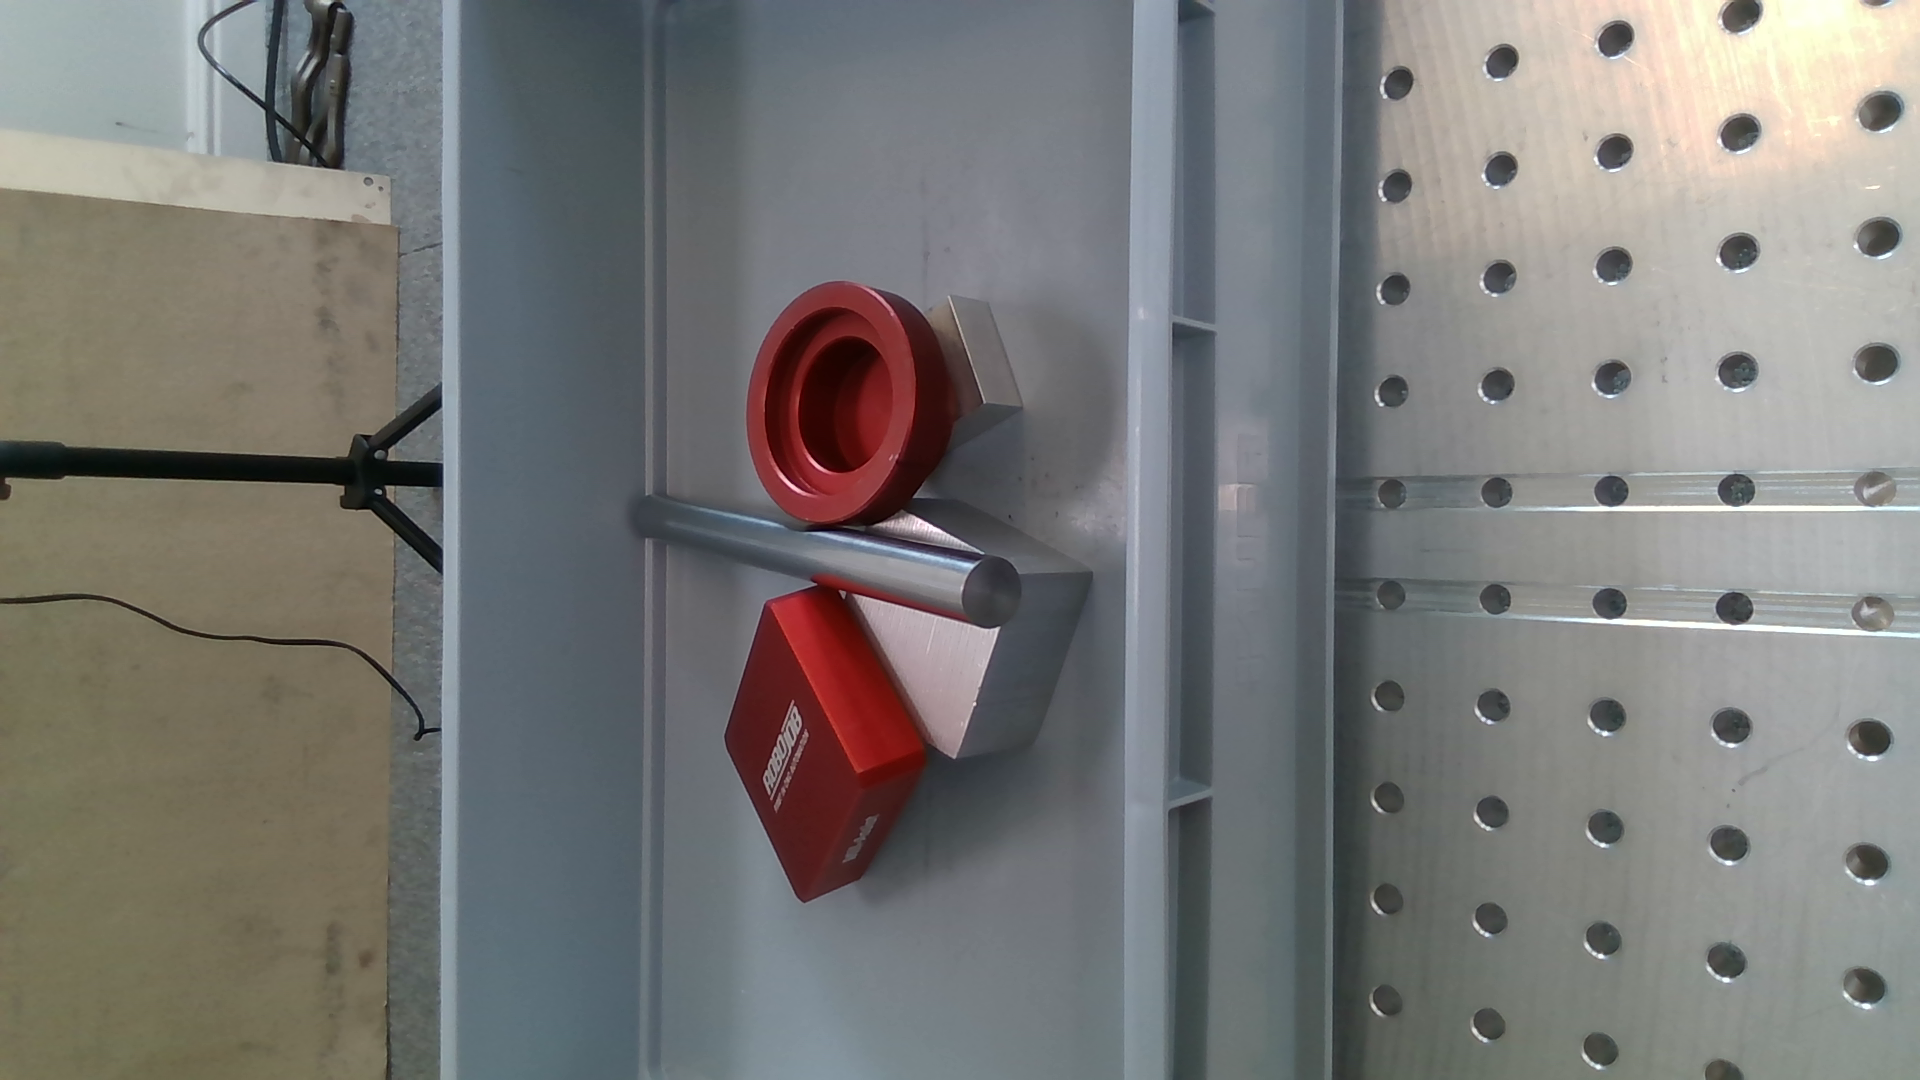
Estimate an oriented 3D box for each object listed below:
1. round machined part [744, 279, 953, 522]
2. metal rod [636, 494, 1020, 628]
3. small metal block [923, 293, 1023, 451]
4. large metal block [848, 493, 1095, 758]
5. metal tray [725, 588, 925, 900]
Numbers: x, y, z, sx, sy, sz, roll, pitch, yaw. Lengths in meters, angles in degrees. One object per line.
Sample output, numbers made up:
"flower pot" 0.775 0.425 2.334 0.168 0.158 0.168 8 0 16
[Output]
"round machined part" -0.042 -0.055 0.569 0.098 0.042 0.098 -3 85 41
"metal rod" -0.073 0.002 0.591 0.300 0.025 0.025 10 97 56
"small metal block" -0.007 -0.070 0.587 0.050 0.025 0.050 -28 73 37
"large metal block" -0.002 0.032 0.567 0.080 0.050 0.080 29 109 36
"metal tray" -0.063 0.090 0.599 0.090 0.030 0.130 59 149 24
